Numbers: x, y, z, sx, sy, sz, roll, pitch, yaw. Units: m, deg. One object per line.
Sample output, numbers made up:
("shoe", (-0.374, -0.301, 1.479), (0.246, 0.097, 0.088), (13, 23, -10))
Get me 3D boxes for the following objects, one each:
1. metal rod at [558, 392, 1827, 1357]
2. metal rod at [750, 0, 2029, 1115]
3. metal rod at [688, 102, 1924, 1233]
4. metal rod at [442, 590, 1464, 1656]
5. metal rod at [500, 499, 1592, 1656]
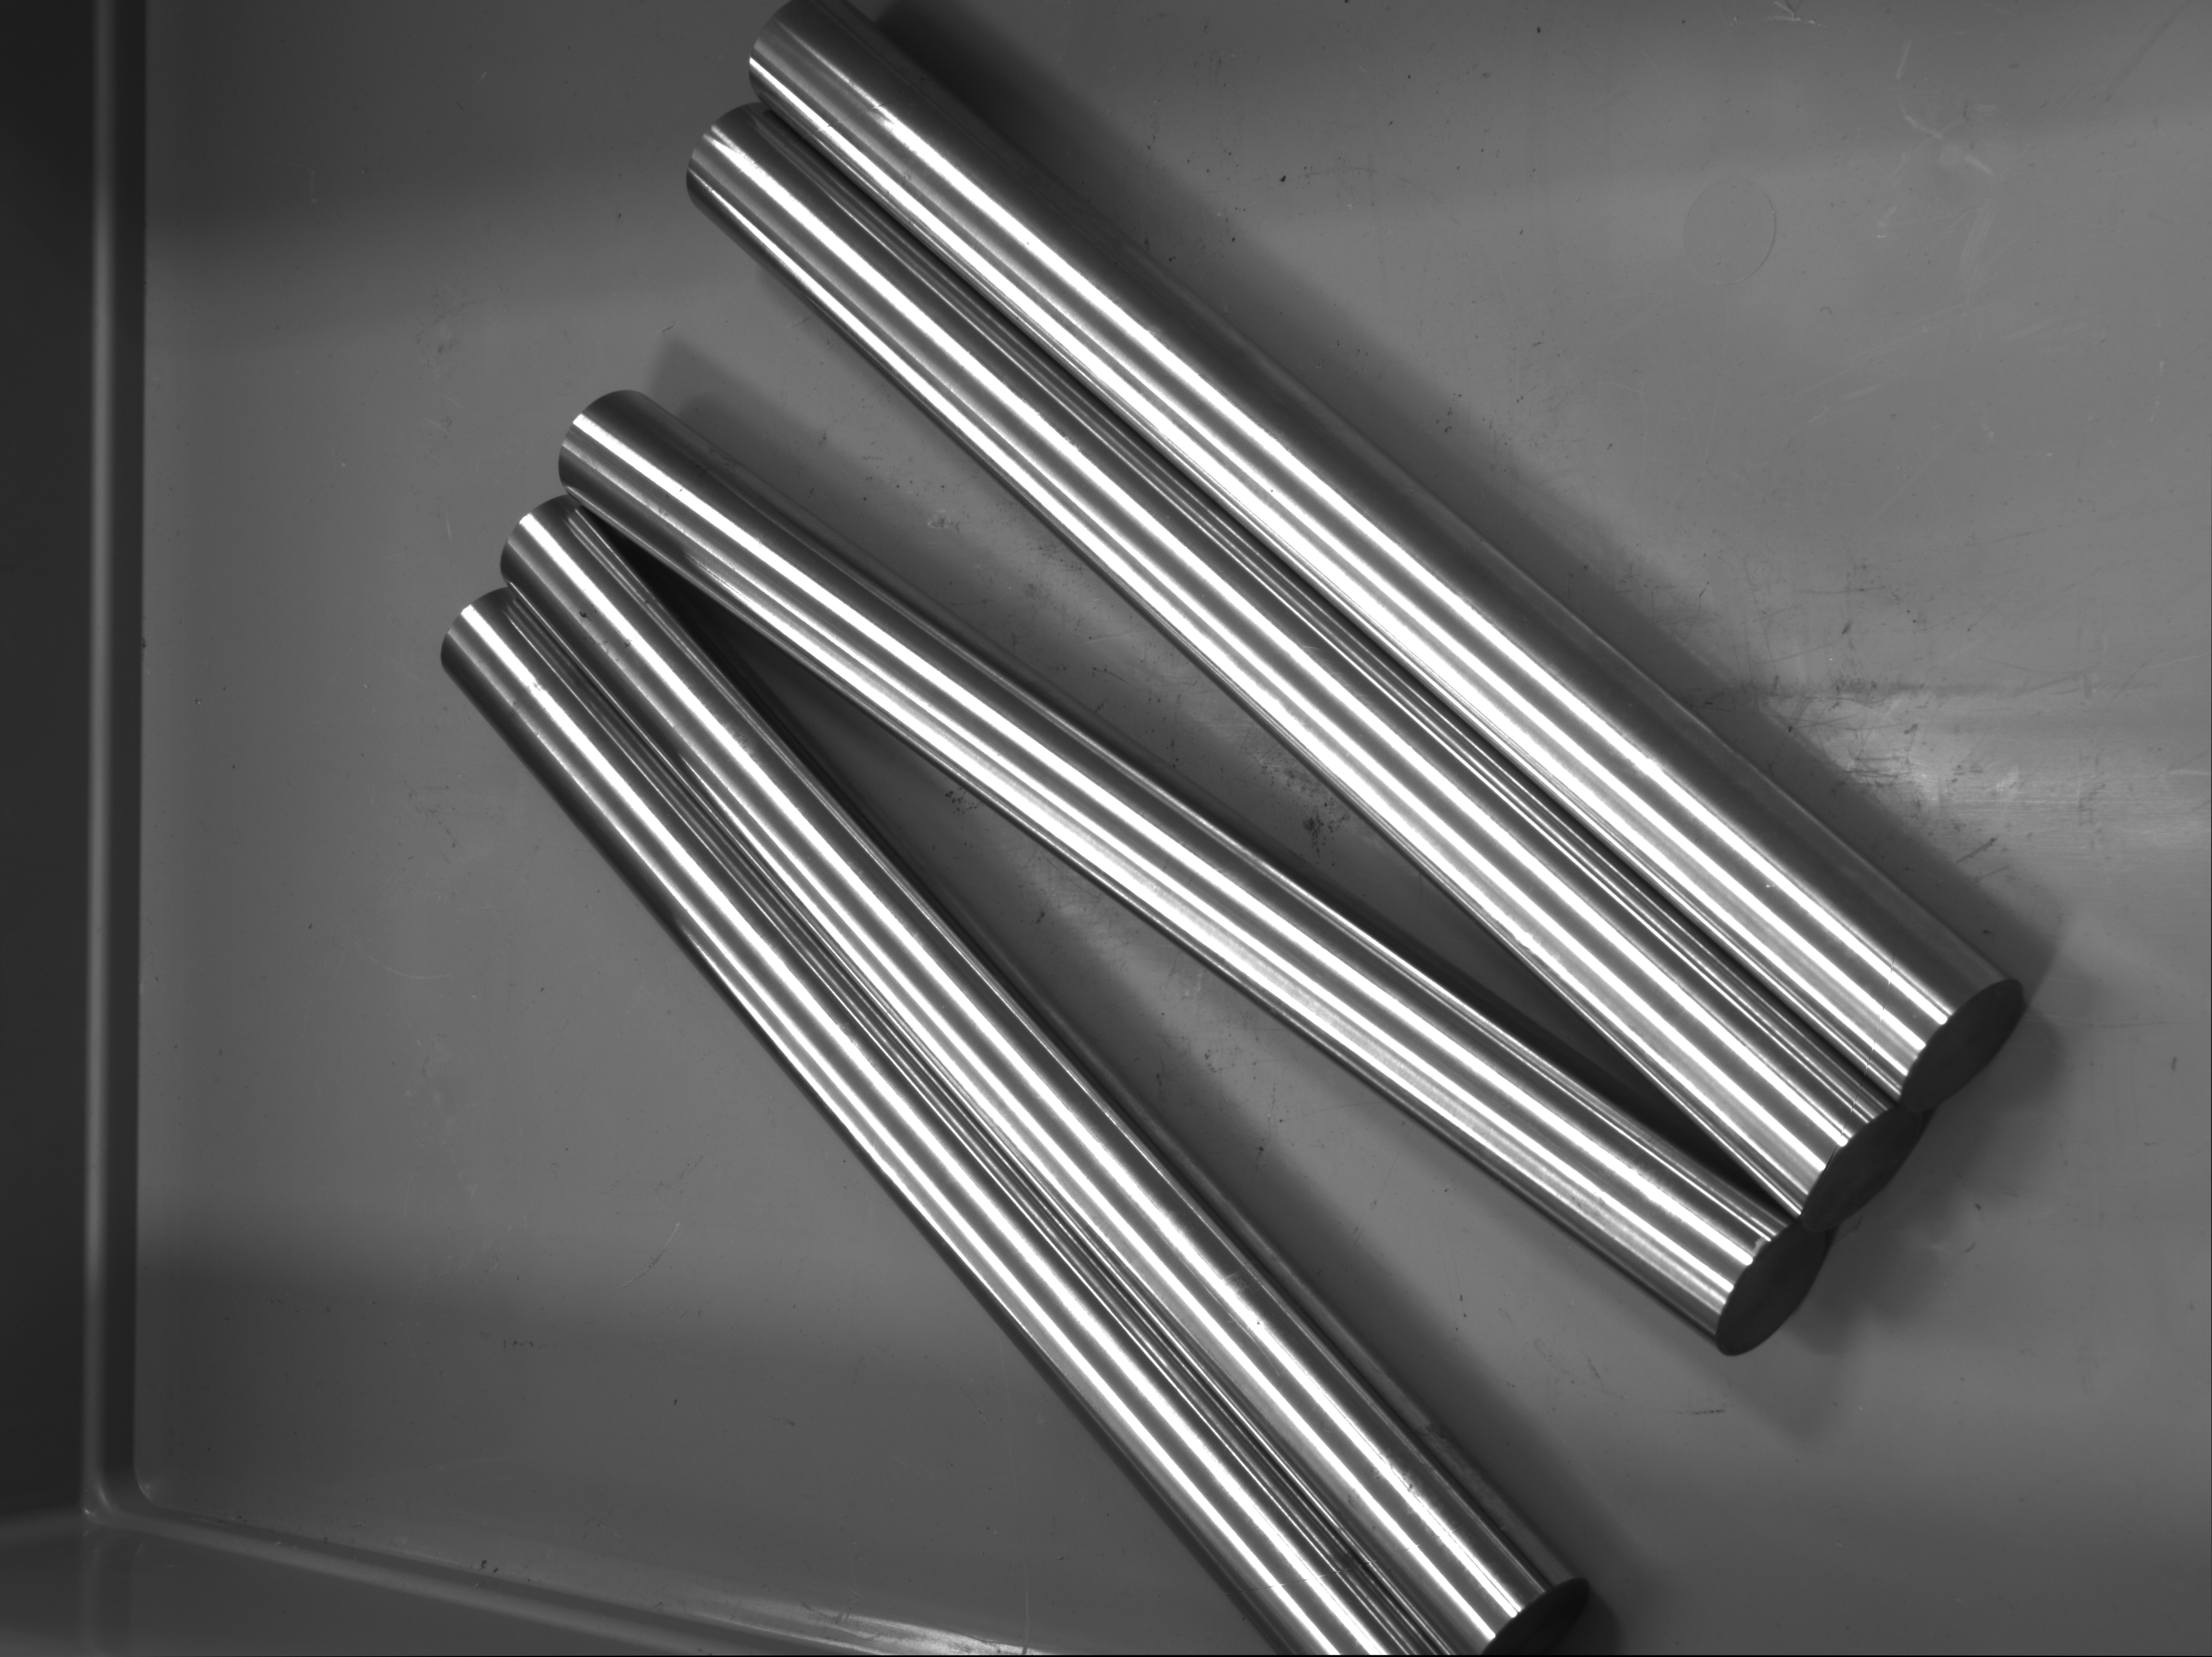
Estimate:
("metal rod", (0.002, -0.003, 0.643), (0.299, 0.025, 0.025), (36, 112, 34))
("metal rod", (0.035, -0.057, 0.615), (0.299, 0.025, 0.025), (44, 117, 31))
("metal rod", (0.022, -0.039, 0.626), (0.299, 0.025, 0.025), (44, 117, 31))
("metal rod", (-0.035, 0.053, 0.673), (0.299, 0.025, 0.025), (46, 118, 30))
("metal rod", (-0.021, 0.036, 0.662), (0.299, 0.025, 0.025), (46, 118, 30))
